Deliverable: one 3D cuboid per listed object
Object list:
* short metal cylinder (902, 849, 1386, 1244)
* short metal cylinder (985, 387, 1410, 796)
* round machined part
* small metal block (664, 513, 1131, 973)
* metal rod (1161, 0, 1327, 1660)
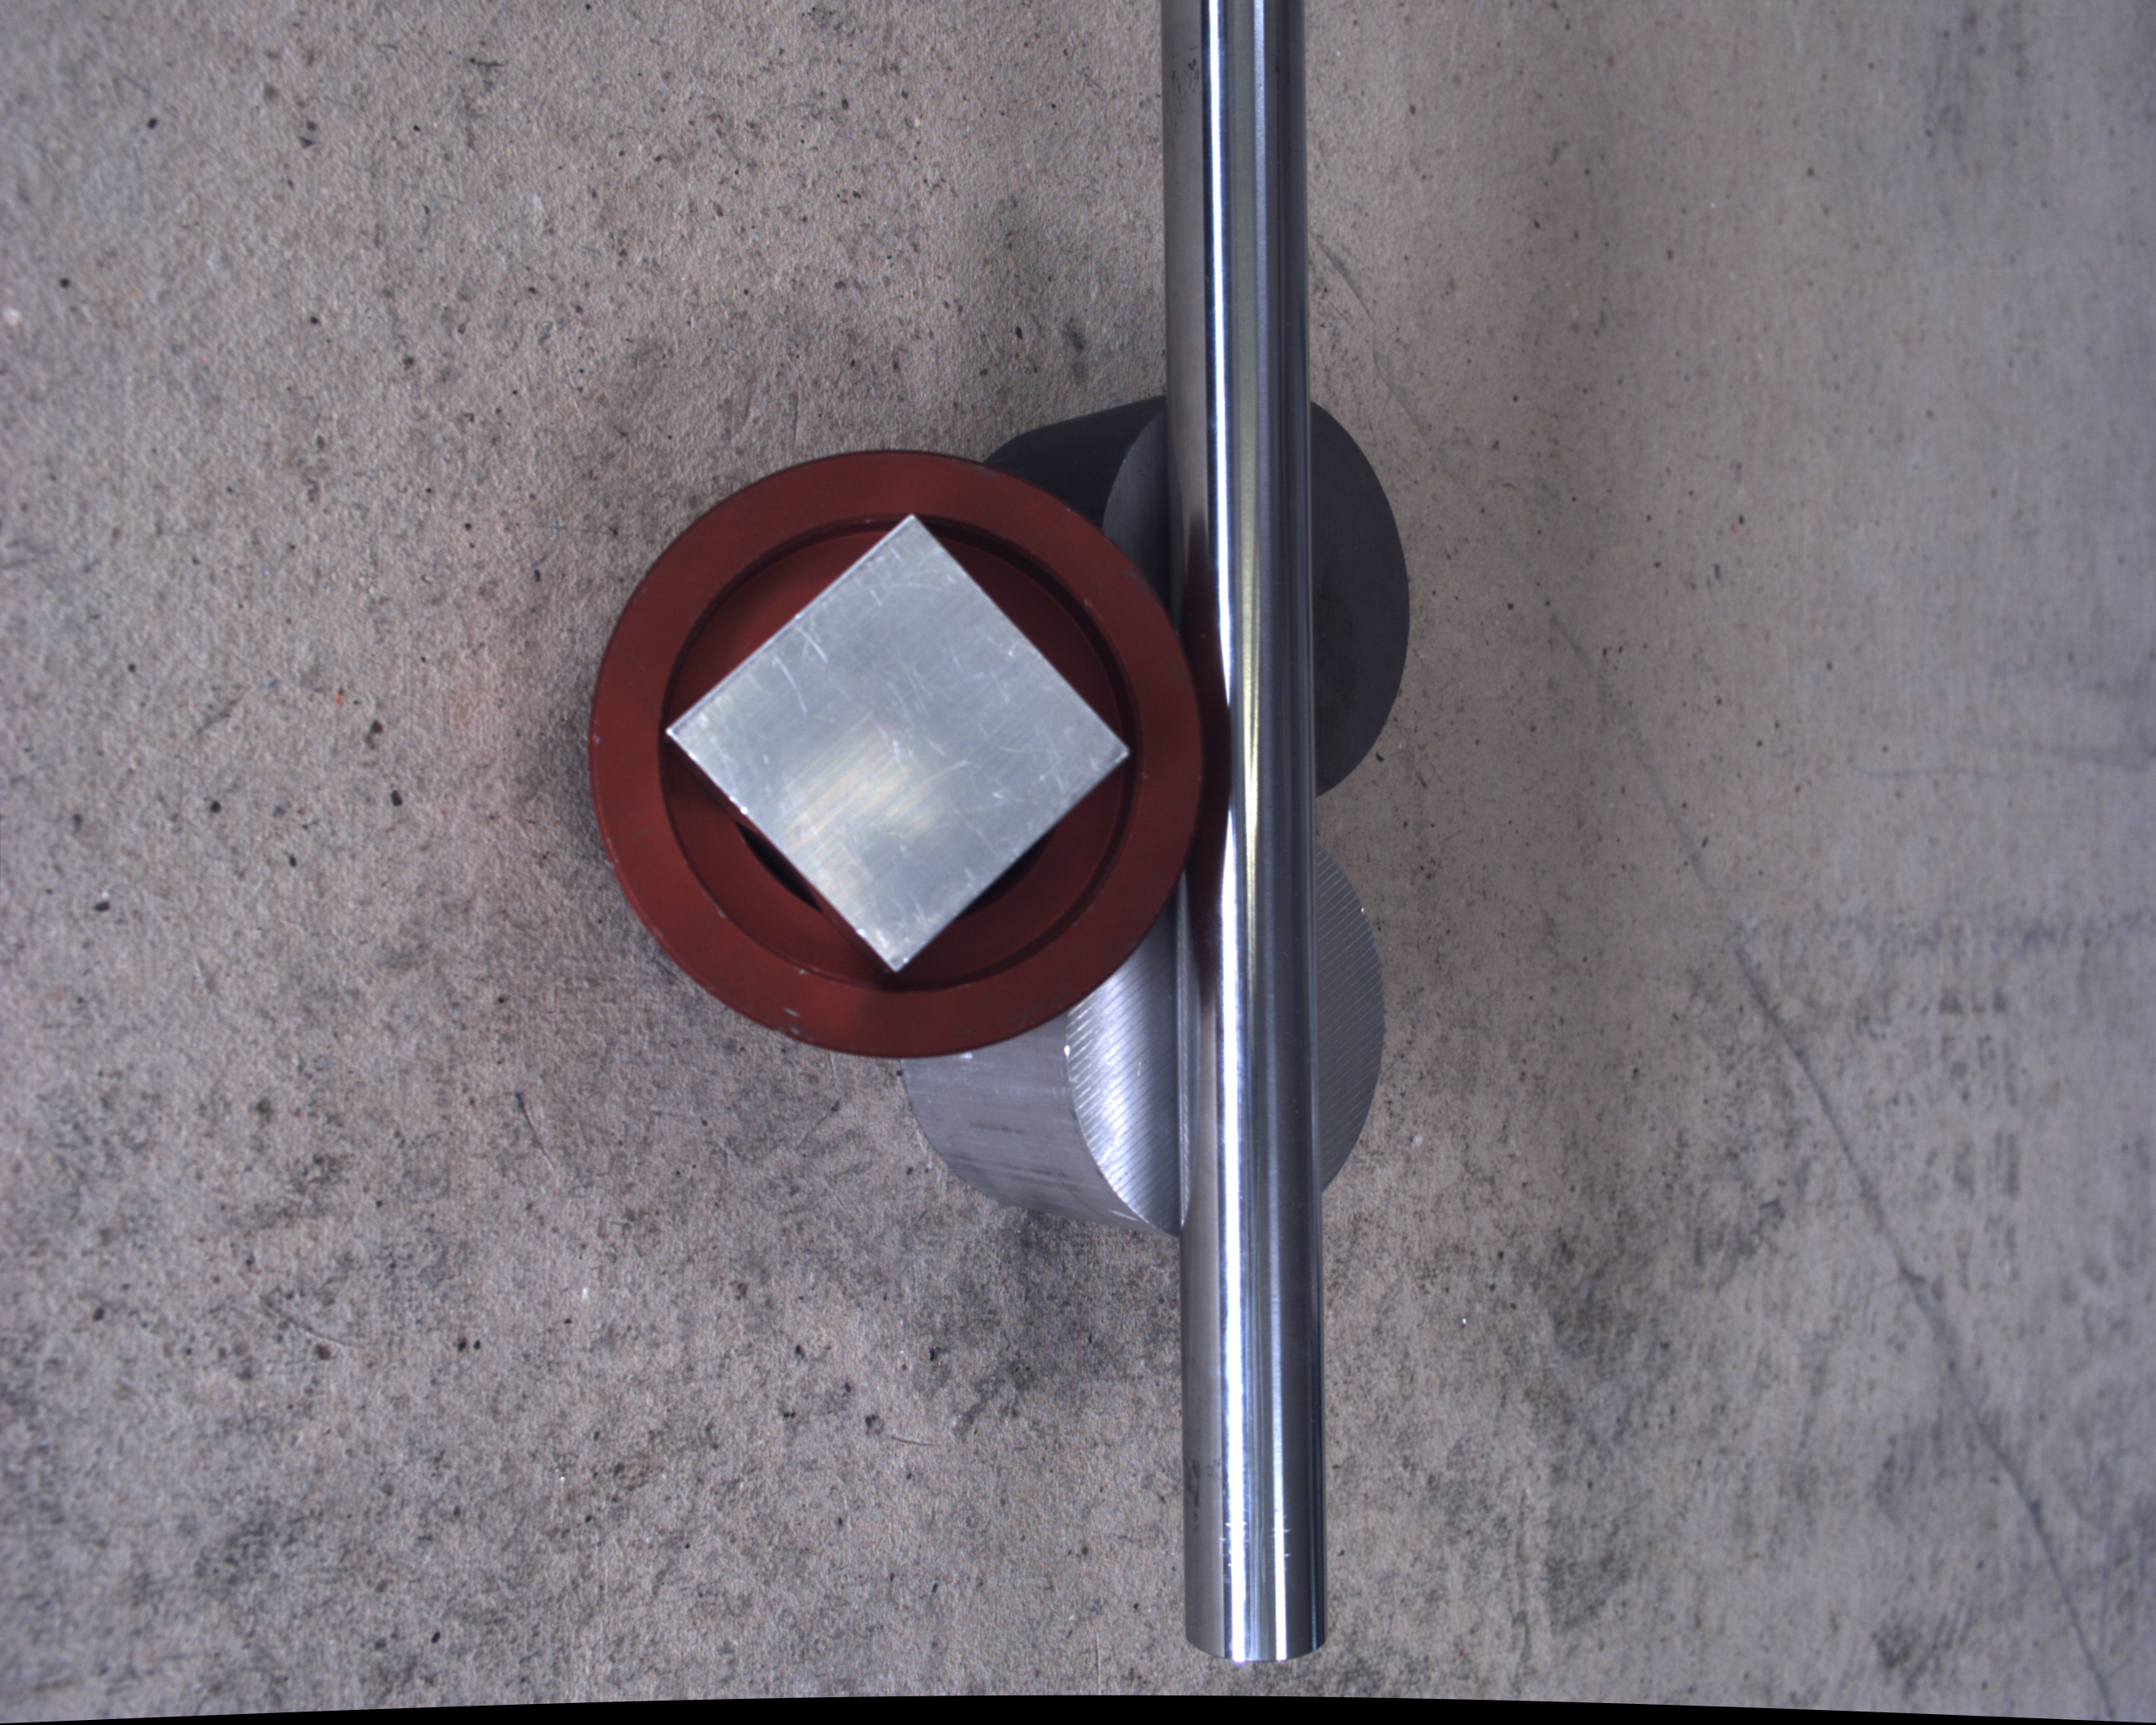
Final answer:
[{"bbox_3d":[0.013,0.031,0.400,0.081,0.050,0.080,1,89,-40],"label":"short metal cylinder"},{"bbox_3d":[0.019,-0.050,0.406,0.081,0.050,0.079,0,90,-40],"label":"short metal cylinder"},{"bbox_3d":[-0.031,-0.017,0.352,0.099,0.042,0.097,0,88,-11],"label":"round machined part"},{"bbox_3d":[-0.029,-0.018,0.329,0.050,0.025,0.050,-44,96,-10],"label":"small metal block"},{"bbox_3d":[0.029,-0.014,0.366,0.025,0.025,0.298,-1,91,-40],"label":"metal rod"}]
